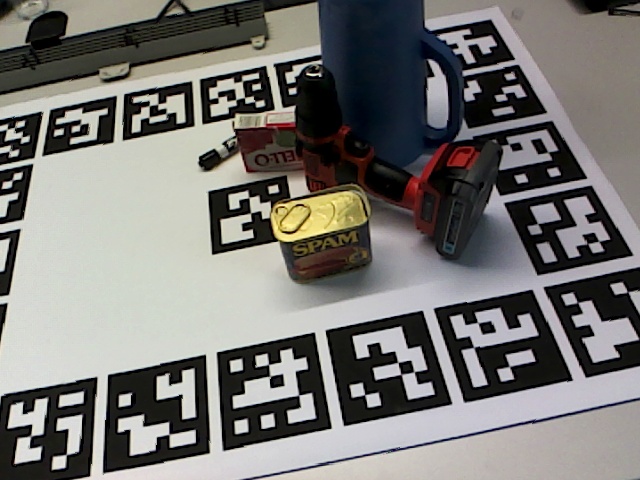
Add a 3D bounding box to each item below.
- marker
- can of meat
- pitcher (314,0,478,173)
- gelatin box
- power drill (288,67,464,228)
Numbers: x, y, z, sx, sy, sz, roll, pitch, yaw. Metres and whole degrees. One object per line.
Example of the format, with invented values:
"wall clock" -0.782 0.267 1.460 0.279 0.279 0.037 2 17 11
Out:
"marker" -0.109 -0.137 0.820 0.121 0.019 0.020 -34 57 -15
"can of meat" 0.002 -0.001 0.662 0.102 0.083 0.058 -12 51 -1
"pitcher" 0.082 -0.196 0.707 0.190 0.241 0.133 13 60 25
"gelatin box" -0.050 -0.119 0.768 0.089 0.073 0.030 -2 58 5
"power drill" 0.053 -0.092 0.664 0.188 0.184 0.057 21 62 15
